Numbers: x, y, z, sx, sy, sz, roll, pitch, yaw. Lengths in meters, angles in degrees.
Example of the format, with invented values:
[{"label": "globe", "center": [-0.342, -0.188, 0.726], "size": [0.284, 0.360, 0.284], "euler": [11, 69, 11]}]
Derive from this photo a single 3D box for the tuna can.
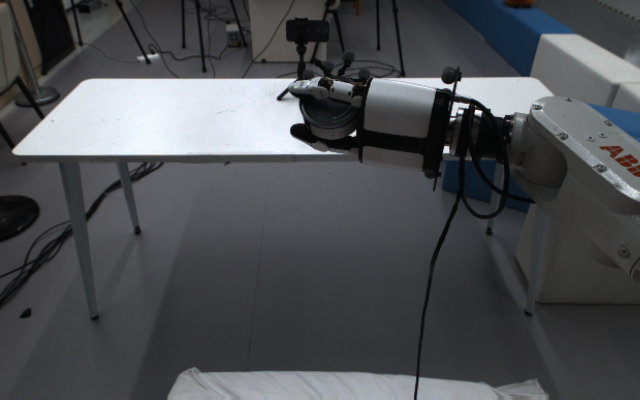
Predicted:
[{"label": "tuna can", "center": [0.017, -0.125, 0.659], "size": [0.085, 0.034, 0.085], "euler": [-4, 61, 7]}]
